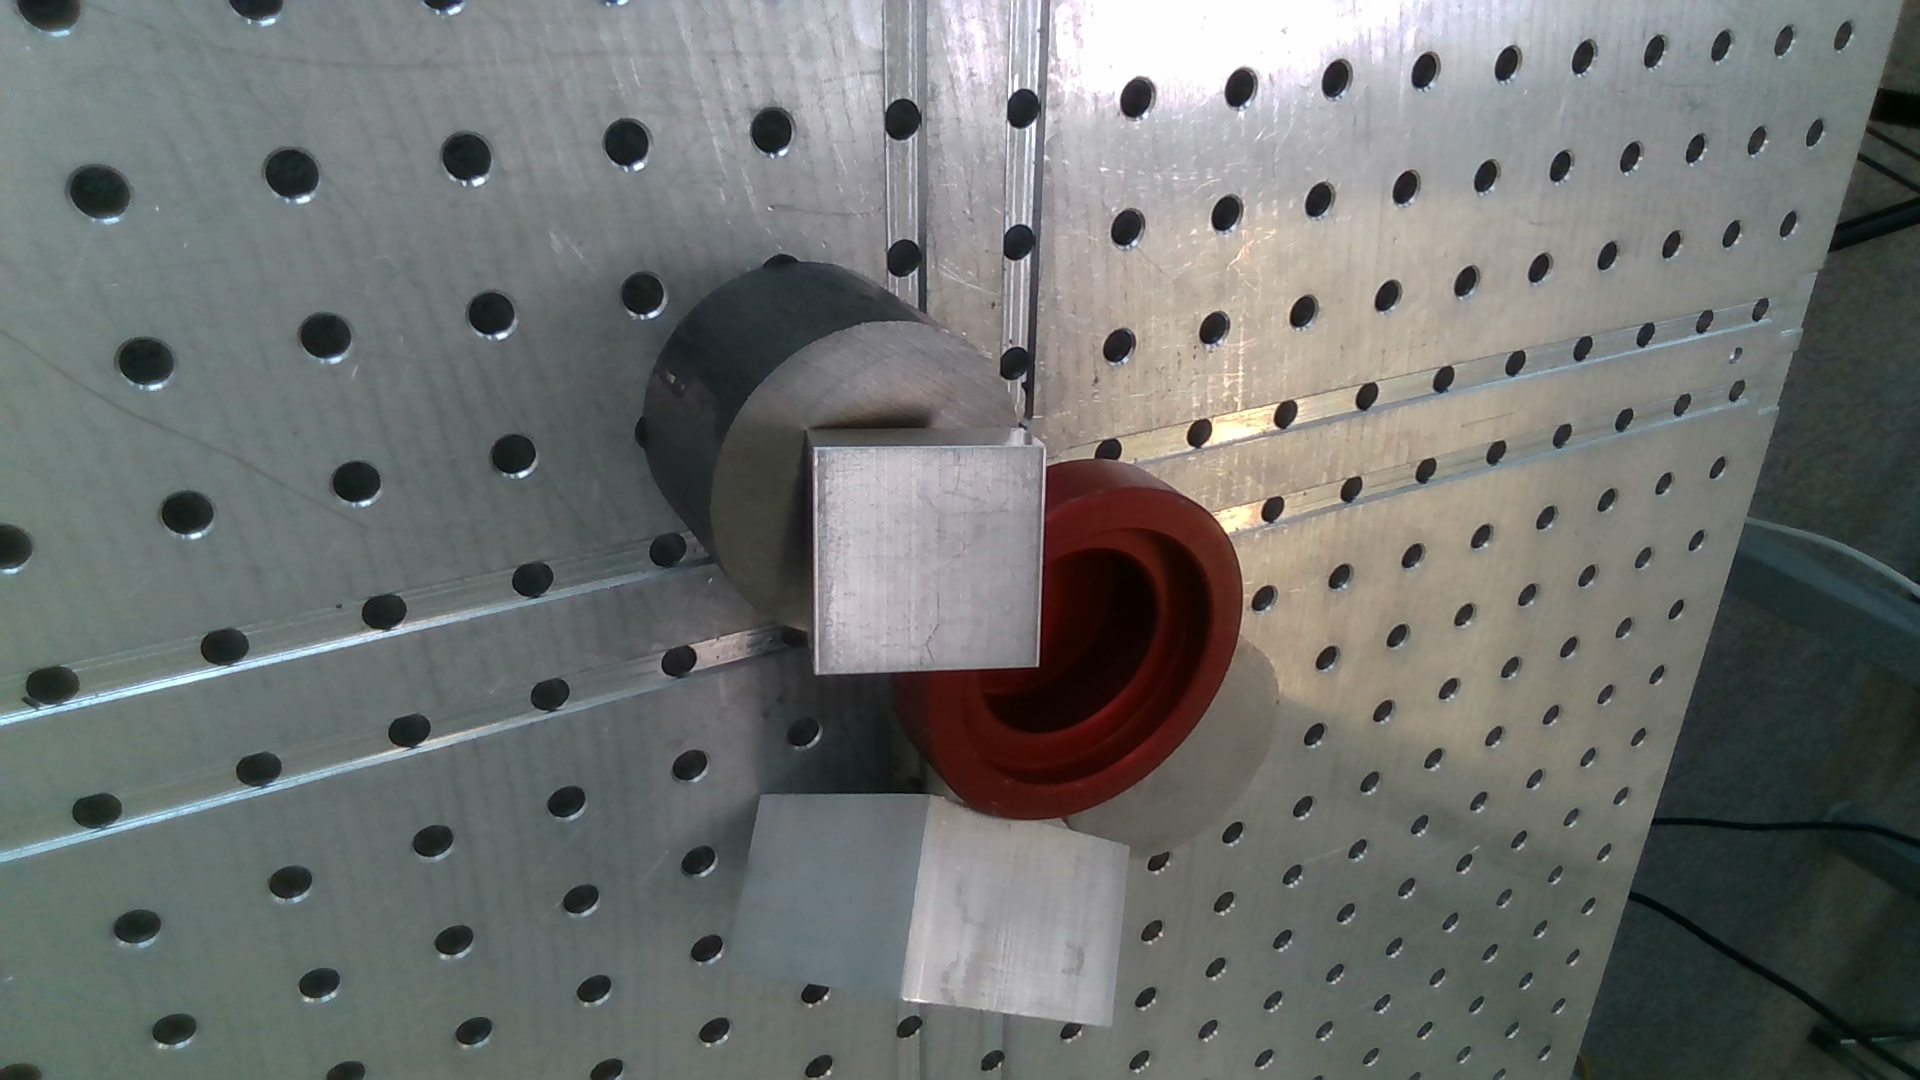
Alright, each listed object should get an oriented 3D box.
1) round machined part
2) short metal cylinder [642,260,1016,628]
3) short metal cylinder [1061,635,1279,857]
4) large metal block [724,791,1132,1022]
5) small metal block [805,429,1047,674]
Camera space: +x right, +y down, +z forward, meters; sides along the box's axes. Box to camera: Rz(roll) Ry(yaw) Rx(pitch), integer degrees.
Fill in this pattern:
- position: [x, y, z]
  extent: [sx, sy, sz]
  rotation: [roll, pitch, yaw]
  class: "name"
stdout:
- position: [0.025, 0.023, 0.371]
  extent: [0.098, 0.042, 0.098]
  rotation: [-14, 122, -25]
  class: "round machined part"
- position: [-0.033, -0.024, 0.343]
  extent: [0.080, 0.050, 0.080]
  rotation: [-14, 122, -25]
  class: "short metal cylinder"
- position: [0.053, 0.053, 0.438]
  extent: [0.080, 0.050, 0.080]
  rotation: [-14, 122, -25]
  class: "short metal cylinder"
- position: [-0.009, 0.106, 0.401]
  extent: [0.080, 0.080, 0.050]
  rotation: [23, 67, -38]
  class: "large metal block"
- position: [-0.009, 0.001, 0.307]
  extent: [0.050, 0.025, 0.050]
  rotation: [-1, 104, -10]
  class: "small metal block"
